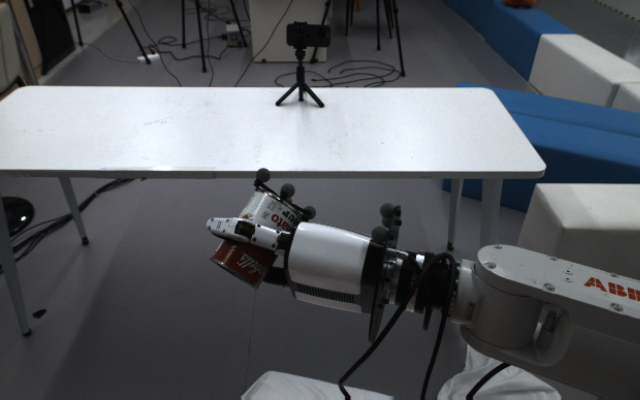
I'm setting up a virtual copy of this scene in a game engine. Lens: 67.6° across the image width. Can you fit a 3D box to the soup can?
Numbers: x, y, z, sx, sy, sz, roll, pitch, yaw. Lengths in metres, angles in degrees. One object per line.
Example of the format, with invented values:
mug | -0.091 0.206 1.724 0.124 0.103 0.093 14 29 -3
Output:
soup can | -0.075 0.047 0.580 0.067 0.067 0.101 24 73 29
